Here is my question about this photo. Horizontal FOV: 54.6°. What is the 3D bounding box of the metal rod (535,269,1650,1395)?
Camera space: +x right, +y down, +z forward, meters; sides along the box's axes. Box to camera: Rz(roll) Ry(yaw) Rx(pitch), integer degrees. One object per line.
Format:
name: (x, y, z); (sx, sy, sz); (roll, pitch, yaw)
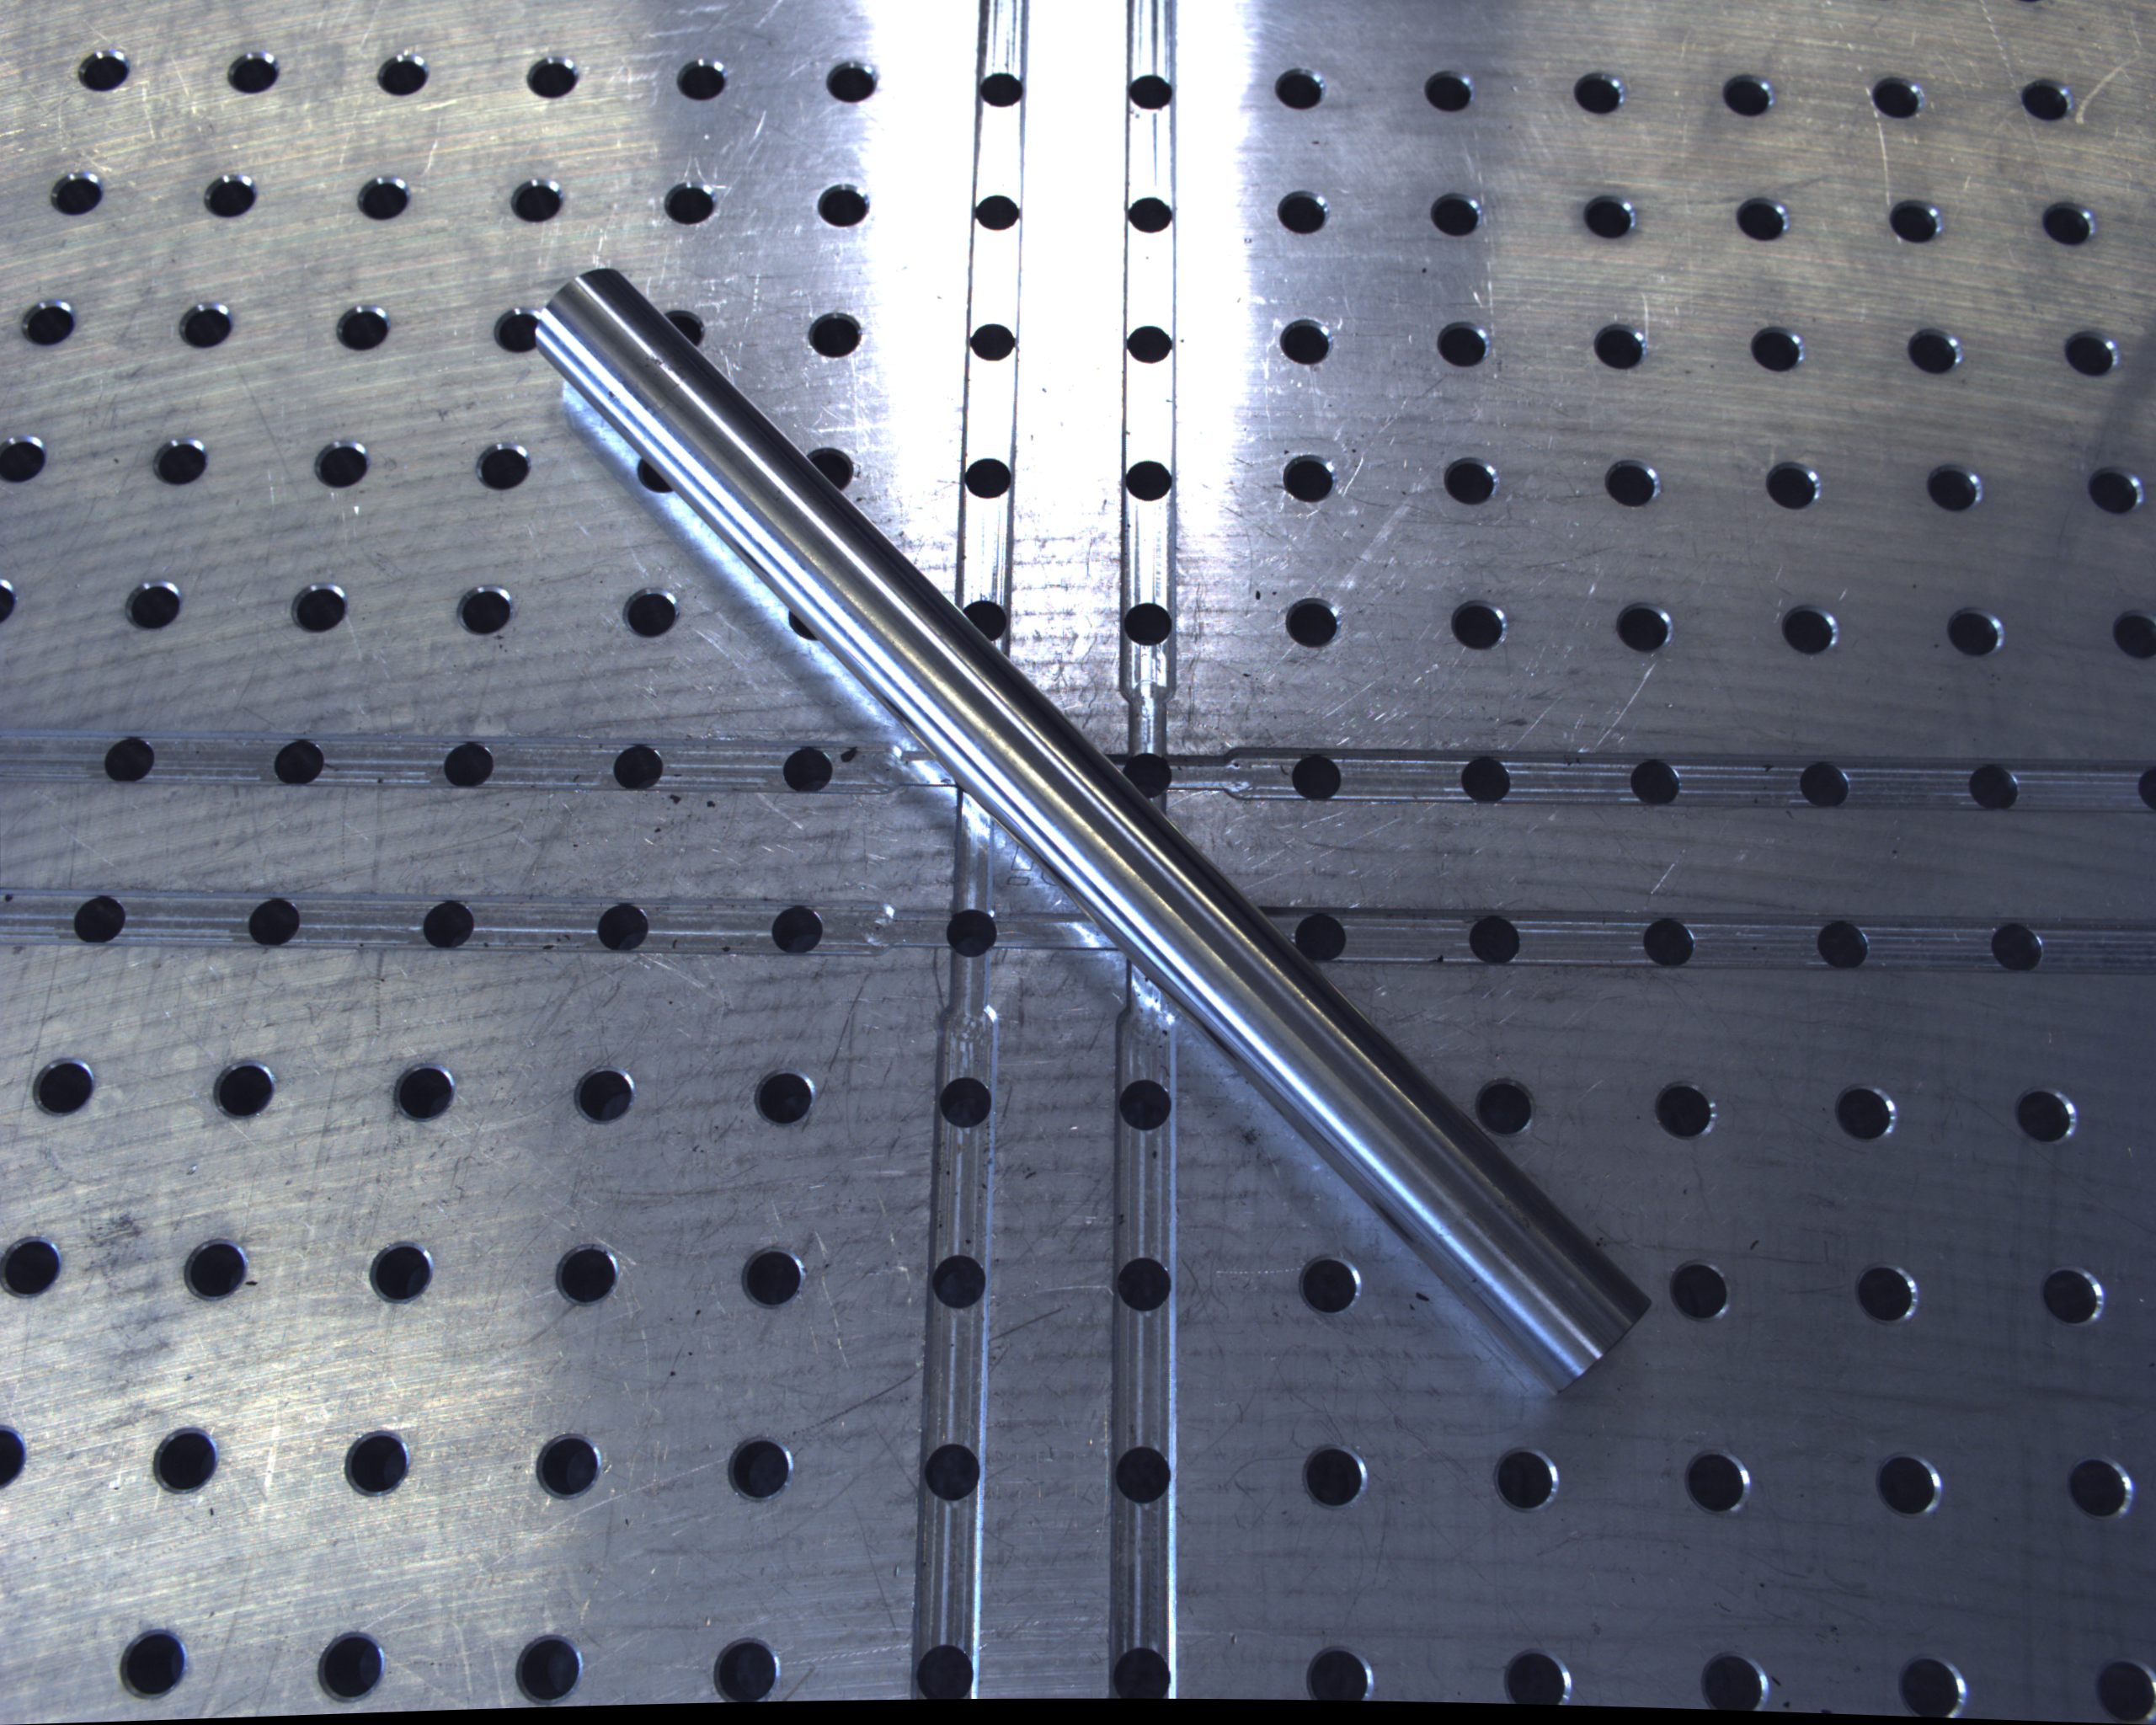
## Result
metal rod: (-0.006, -0.015, 0.418); (0.025, 0.025, 0.300); (-41, 75, -13)
